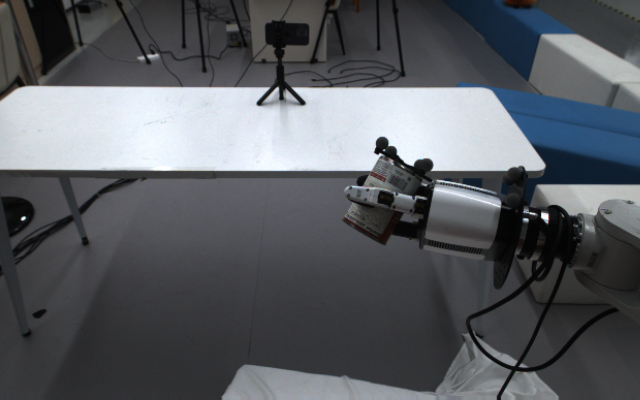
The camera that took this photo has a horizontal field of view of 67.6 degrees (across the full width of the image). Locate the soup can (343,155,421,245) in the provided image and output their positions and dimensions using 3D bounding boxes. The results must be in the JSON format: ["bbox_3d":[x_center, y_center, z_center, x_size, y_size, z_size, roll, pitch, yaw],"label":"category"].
[{"bbox_3d":[0.084,0.001,0.652,0.067,0.101,0.067,30,2,-1],"label":"soup can"}]
